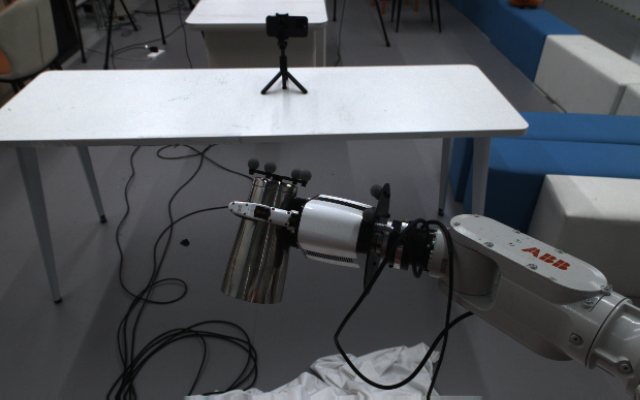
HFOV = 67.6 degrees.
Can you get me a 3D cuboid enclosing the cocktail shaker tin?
[{"bbox_3d":[-0.080,0.054,0.712,0.093,0.170,0.093,13,1,0],"label":"cocktail shaker tin"}]
